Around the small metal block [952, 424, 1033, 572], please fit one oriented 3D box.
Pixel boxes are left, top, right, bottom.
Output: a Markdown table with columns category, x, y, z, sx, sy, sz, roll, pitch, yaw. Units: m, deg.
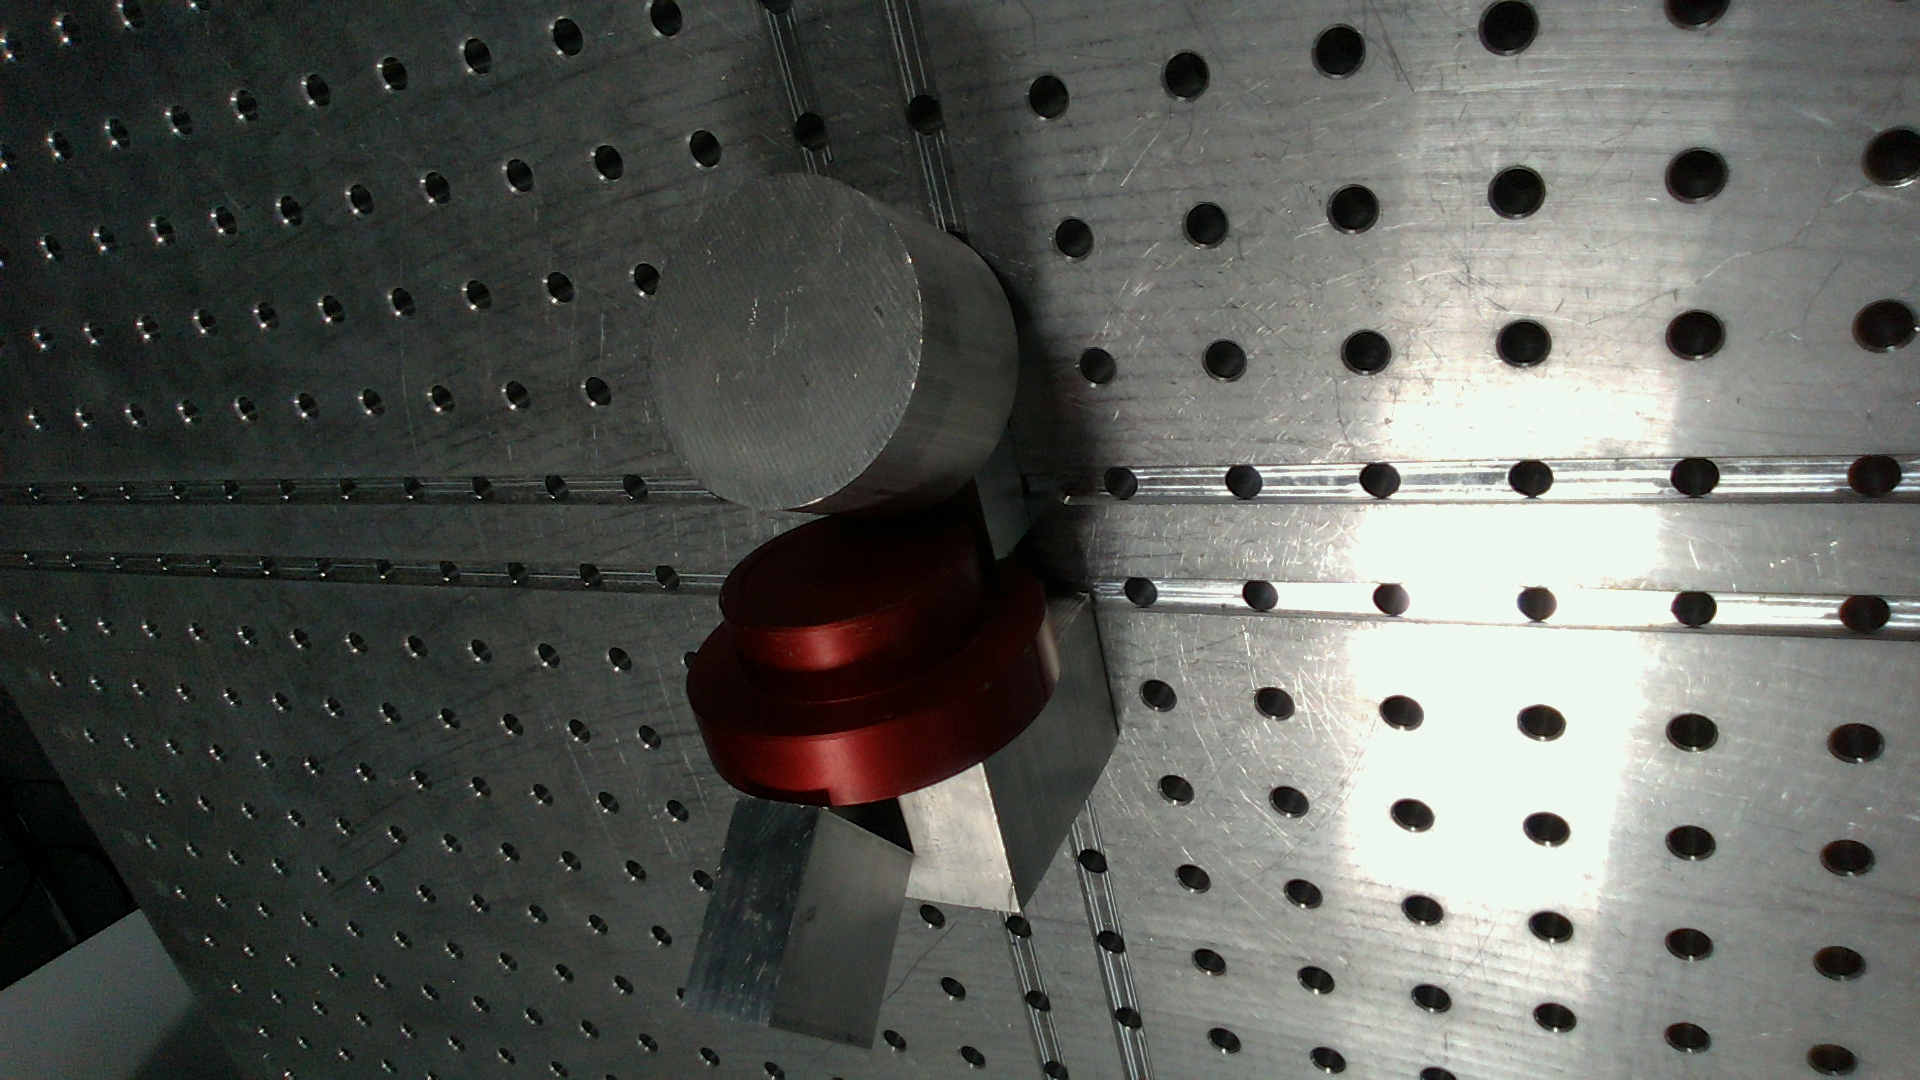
| category | x | y | z | sx | sy | sz | roll | pitch | yaw |
| --- | --- | --- | --- | --- | --- | --- | --- | --- | --- |
| small metal block | -0.012 | -0.019 | 0.389 | 0.050 | 0.025 | 0.050 | 1 | 119 | 28 |

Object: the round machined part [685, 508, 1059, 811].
| category | x | y | z | sx | sy | sz | roll | pitch | yaw |
| --- | --- | --- | --- | --- | --- | --- | --- | --- | --- |
| round machined part | -0.025 | 0.024 | 0.364 | 0.098 | 0.098 | 0.042 | 1 | 119 | 28 |

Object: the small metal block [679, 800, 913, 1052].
| category | x | y | z | sx | sy | sz | roll | pitch | yaw |
| --- | --- | --- | --- | --- | --- | --- | --- | --- | --- |
| small metal block | -0.039 | 0.097 | 0.343 | 0.025 | 0.050 | 0.050 | 1 | 157 | 27 |

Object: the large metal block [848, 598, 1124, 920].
| category | x | y | z | sx | sy | sz | roll | pitch | yaw |
| --- | --- | --- | --- | --- | --- | --- | --- | --- | --- |
| large metal block | -0.007 | 0.058 | 0.399 | 0.080 | 0.080 | 0.050 | 1 | 119 | 28 |

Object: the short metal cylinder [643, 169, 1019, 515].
| category | x | y | z | sx | sy | sz | roll | pitch | yaw |
| --- | --- | --- | --- | --- | --- | --- | --- | --- | --- |
| short metal cylinder | -0.032 | -0.047 | 0.346 | 0.080 | 0.050 | 0.080 | -1 | 88 | 28 |
